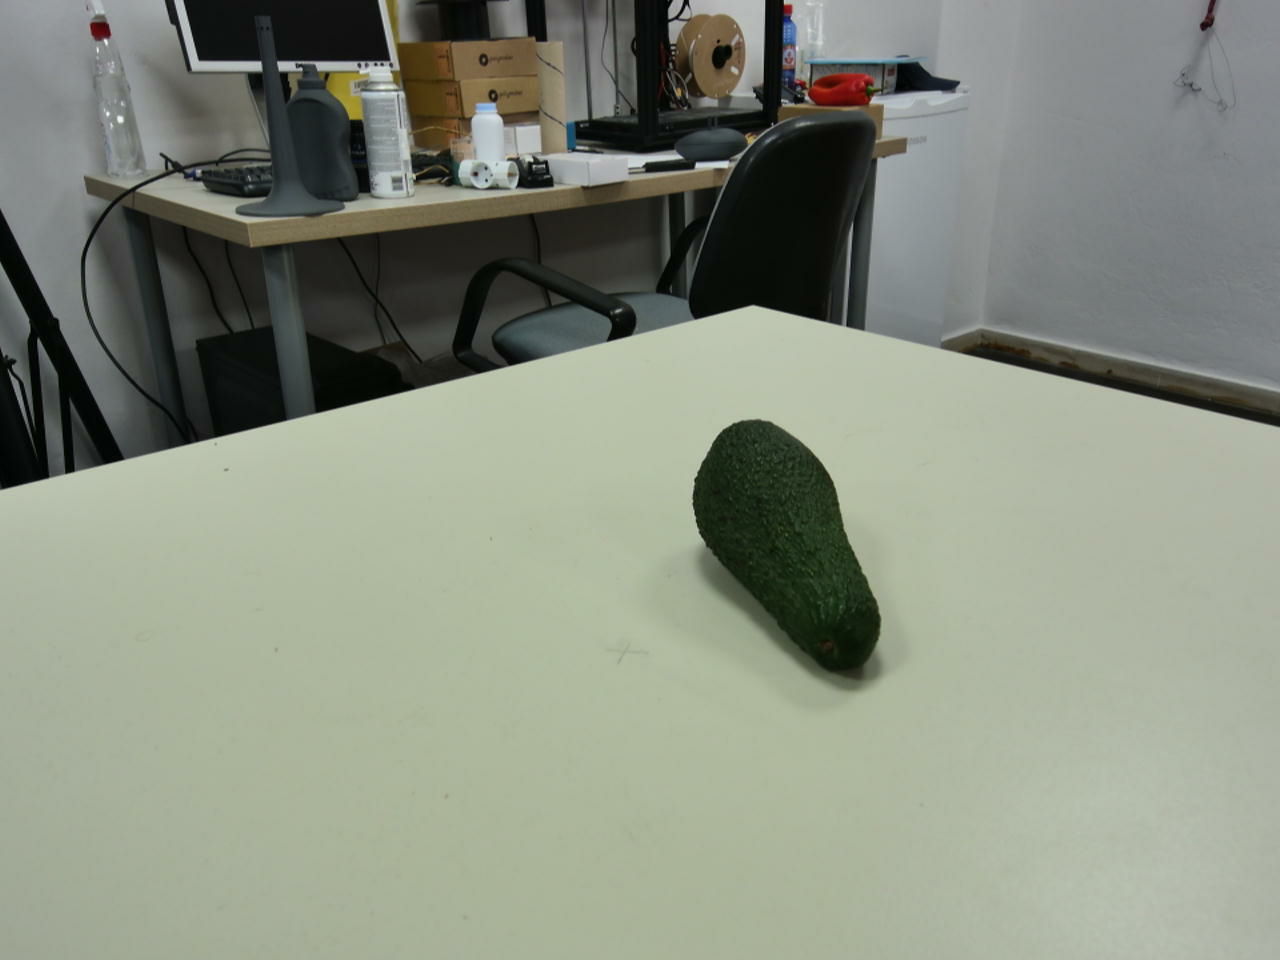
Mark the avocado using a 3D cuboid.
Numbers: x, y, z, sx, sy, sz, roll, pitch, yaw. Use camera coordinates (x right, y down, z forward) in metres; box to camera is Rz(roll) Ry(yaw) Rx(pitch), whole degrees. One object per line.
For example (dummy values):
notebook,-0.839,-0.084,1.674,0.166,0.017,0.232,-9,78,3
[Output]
avocado,0.067,0.019,0.424,0.063,0.067,0.141,-10,23,-22
